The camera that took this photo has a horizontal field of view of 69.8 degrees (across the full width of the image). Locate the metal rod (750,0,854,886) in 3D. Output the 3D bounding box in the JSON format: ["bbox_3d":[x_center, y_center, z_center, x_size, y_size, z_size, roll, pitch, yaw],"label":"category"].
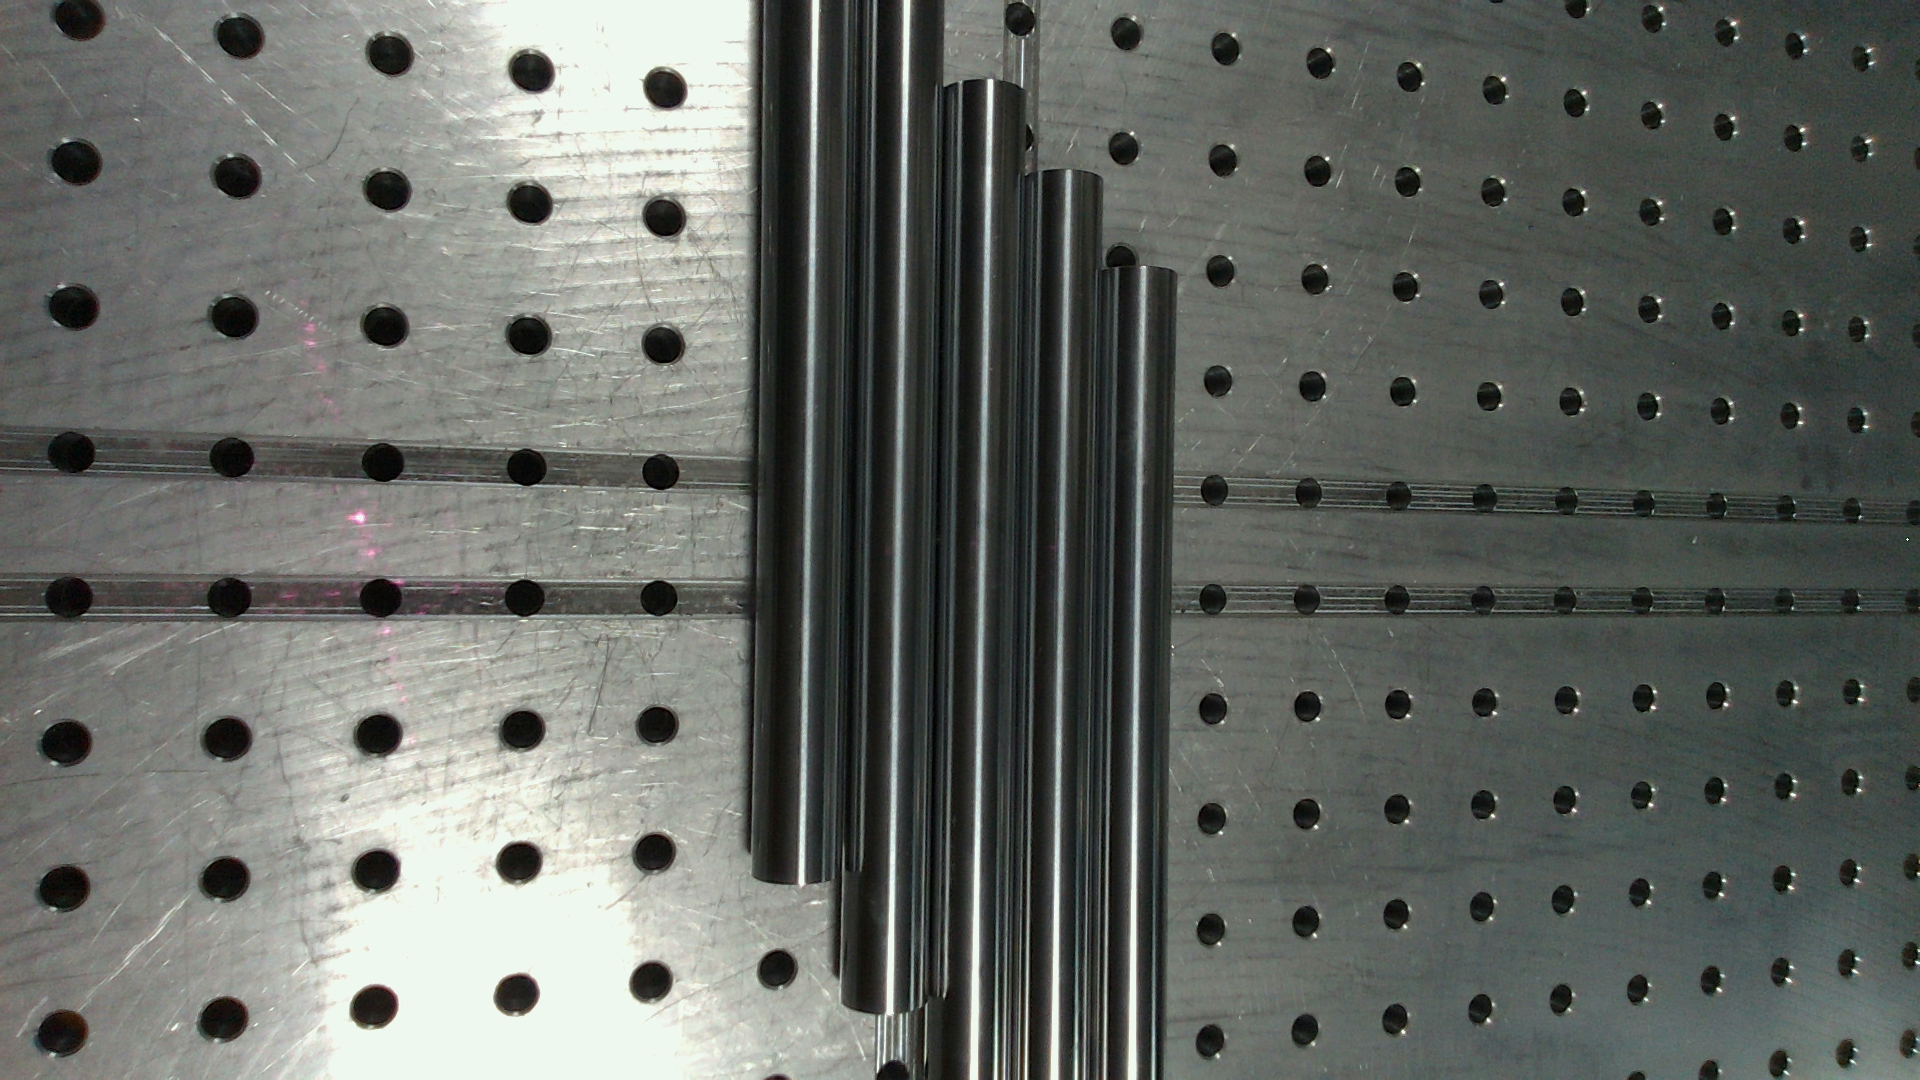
[{"bbox_3d":[-0.043,-0.058,0.380,0.025,0.025,0.300,1,90,-20],"label":"metal rod"}]

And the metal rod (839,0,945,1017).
[{"bbox_3d":[-0.019,-0.020,0.388,0.025,0.025,0.300,1,90,-20],"label":"metal rod"}]

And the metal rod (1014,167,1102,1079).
[{"bbox_3d":[0.027,0.043,0.405,0.025,0.025,0.300,1,90,-20],"label":"metal rod"}]

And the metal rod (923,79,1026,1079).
[{"bbox_3d":[0.004,0.021,0.397,0.025,0.025,0.300,1,90,-20],"label":"metal rod"}]

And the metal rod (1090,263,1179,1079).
[{"bbox_3d":[0.051,0.069,0.414,0.025,0.025,0.300,1,90,-20],"label":"metal rod"}]
